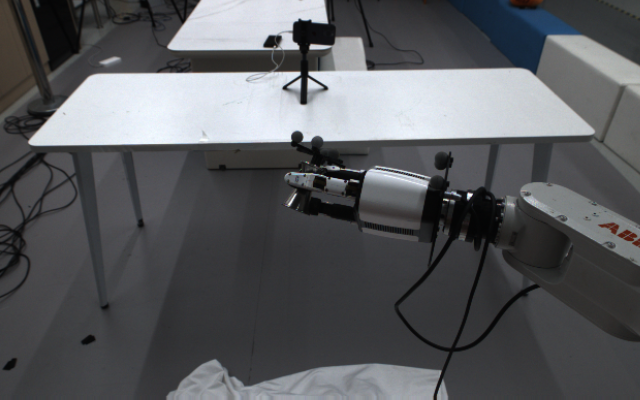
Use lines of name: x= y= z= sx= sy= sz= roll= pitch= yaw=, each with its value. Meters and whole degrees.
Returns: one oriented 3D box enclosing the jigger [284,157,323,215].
jigger: x=-0.023 y=-0.019 z=0.684 sx=0.043 sy=0.071 sz=0.043 roll=24 pitch=-3 yaw=1
